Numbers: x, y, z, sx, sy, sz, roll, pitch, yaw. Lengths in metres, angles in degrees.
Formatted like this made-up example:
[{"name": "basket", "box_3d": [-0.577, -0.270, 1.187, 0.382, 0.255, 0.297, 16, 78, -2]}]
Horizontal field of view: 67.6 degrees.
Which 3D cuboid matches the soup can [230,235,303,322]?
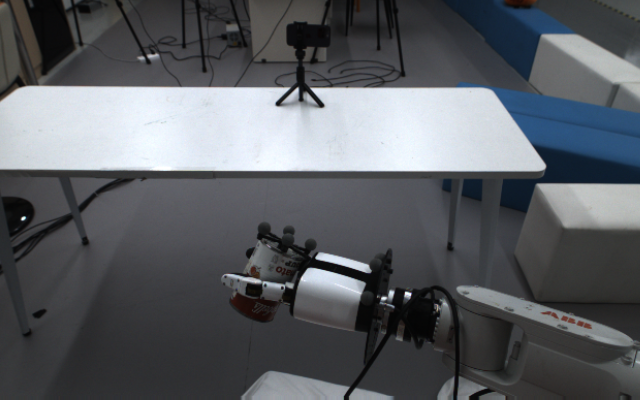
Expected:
[{"name": "soup can", "box_3d": [-0.074, 0.109, 0.670, 0.067, 0.101, 0.067, 27, 6, -3]}]
